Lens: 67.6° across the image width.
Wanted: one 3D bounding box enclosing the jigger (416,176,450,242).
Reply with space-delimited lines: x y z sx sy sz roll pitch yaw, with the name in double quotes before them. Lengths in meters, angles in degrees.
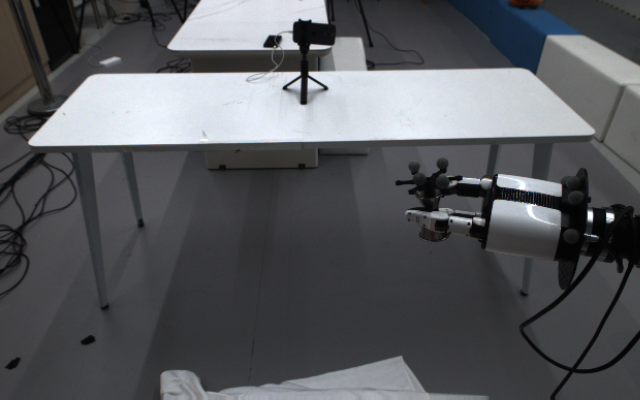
"jigger" 0.159 0.017 0.687 0.043 0.071 0.043 -11 23 5
